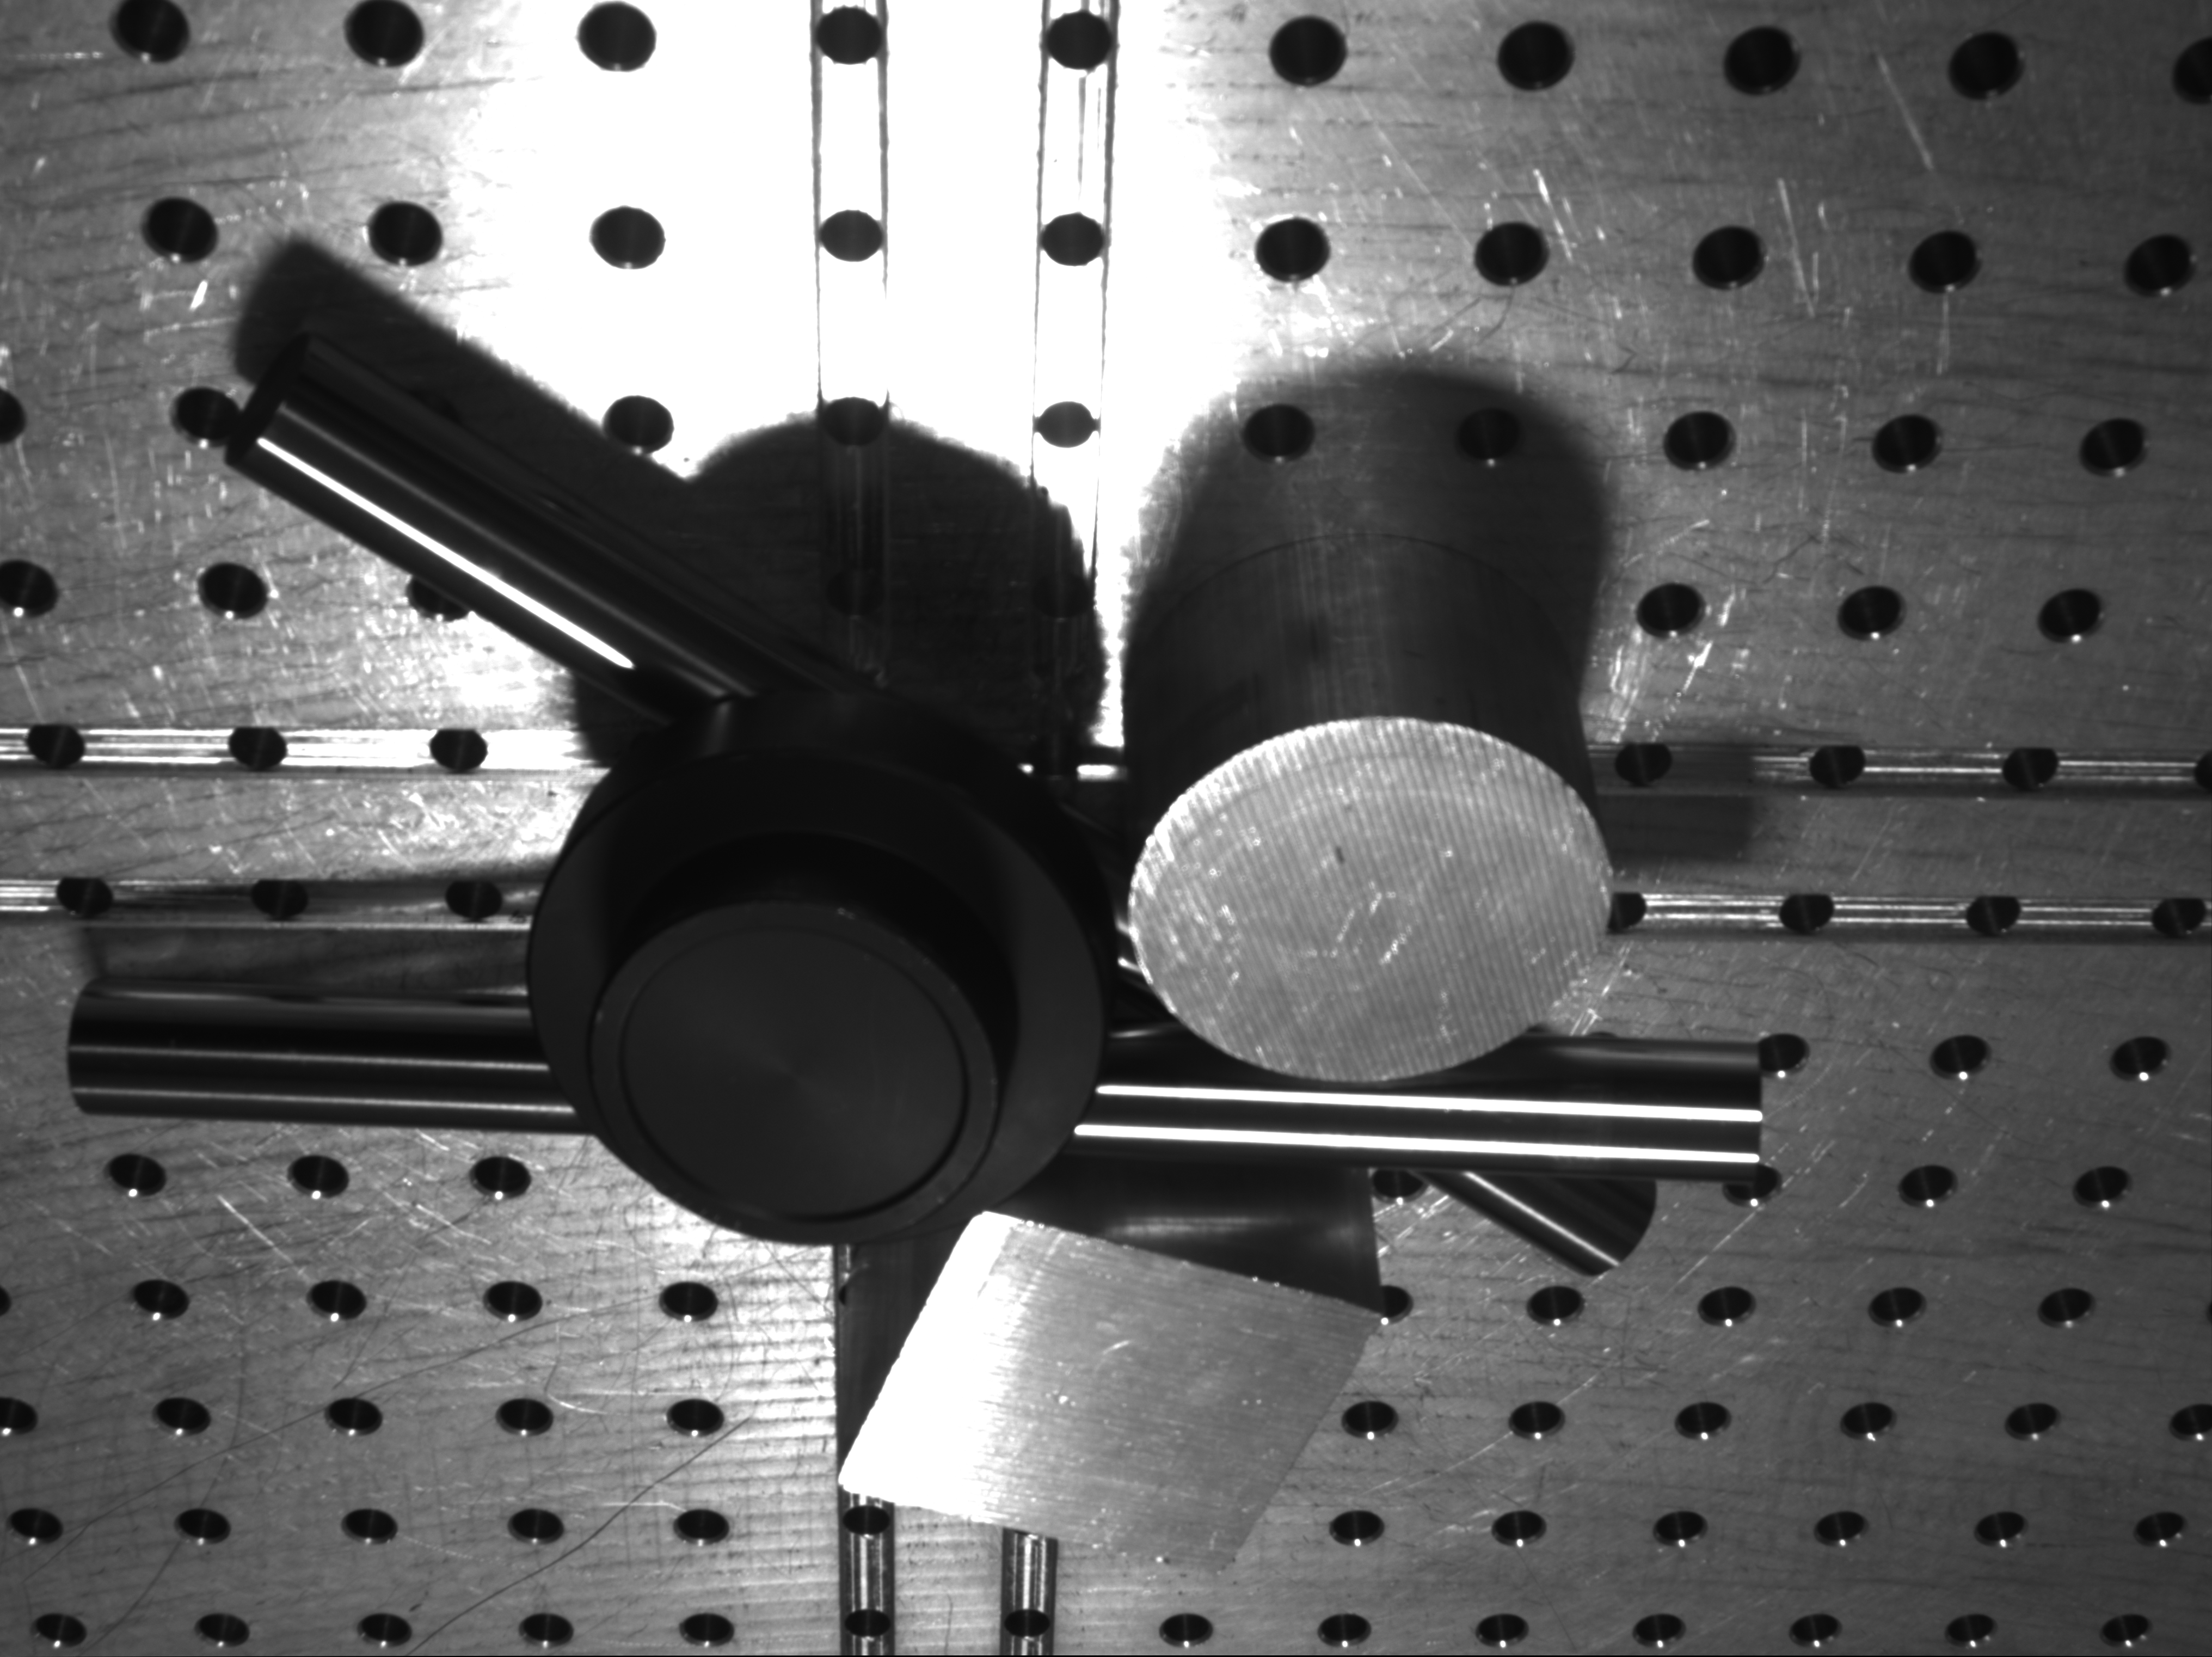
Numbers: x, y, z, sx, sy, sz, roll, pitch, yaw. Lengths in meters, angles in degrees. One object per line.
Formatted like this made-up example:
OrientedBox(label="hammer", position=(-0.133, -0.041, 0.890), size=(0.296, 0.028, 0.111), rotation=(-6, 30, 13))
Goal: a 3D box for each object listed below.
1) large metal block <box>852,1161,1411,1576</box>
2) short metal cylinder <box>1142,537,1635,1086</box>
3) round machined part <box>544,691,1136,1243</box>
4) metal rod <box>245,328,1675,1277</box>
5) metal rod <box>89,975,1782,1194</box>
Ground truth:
OrientedBox(label="large metal block", position=(0.003, 0.090, 0.698), size=(0.080, 0.050, 0.080), rotation=(16, 128, -14))
OrientedBox(label="short metal cylinder", position=(0.047, -0.002, 0.623), size=(0.080, 0.050, 0.080), rotation=(-1, 130, -1))
OrientedBox(label="round machined part", position=(-0.045, 0.030, 0.610), size=(0.098, 0.042, 0.098), rotation=(2, 121, 4))
OrientedBox(label="metal rod", position=(-0.014, 0.003, 0.644), size=(0.301, 0.025, 0.025), rotation=(32, 122, -25))
OrientedBox(label="metal rod", position=(-0.032, 0.045, 0.654), size=(0.300, 0.025, 0.025), rotation=(2, 130, 6))
